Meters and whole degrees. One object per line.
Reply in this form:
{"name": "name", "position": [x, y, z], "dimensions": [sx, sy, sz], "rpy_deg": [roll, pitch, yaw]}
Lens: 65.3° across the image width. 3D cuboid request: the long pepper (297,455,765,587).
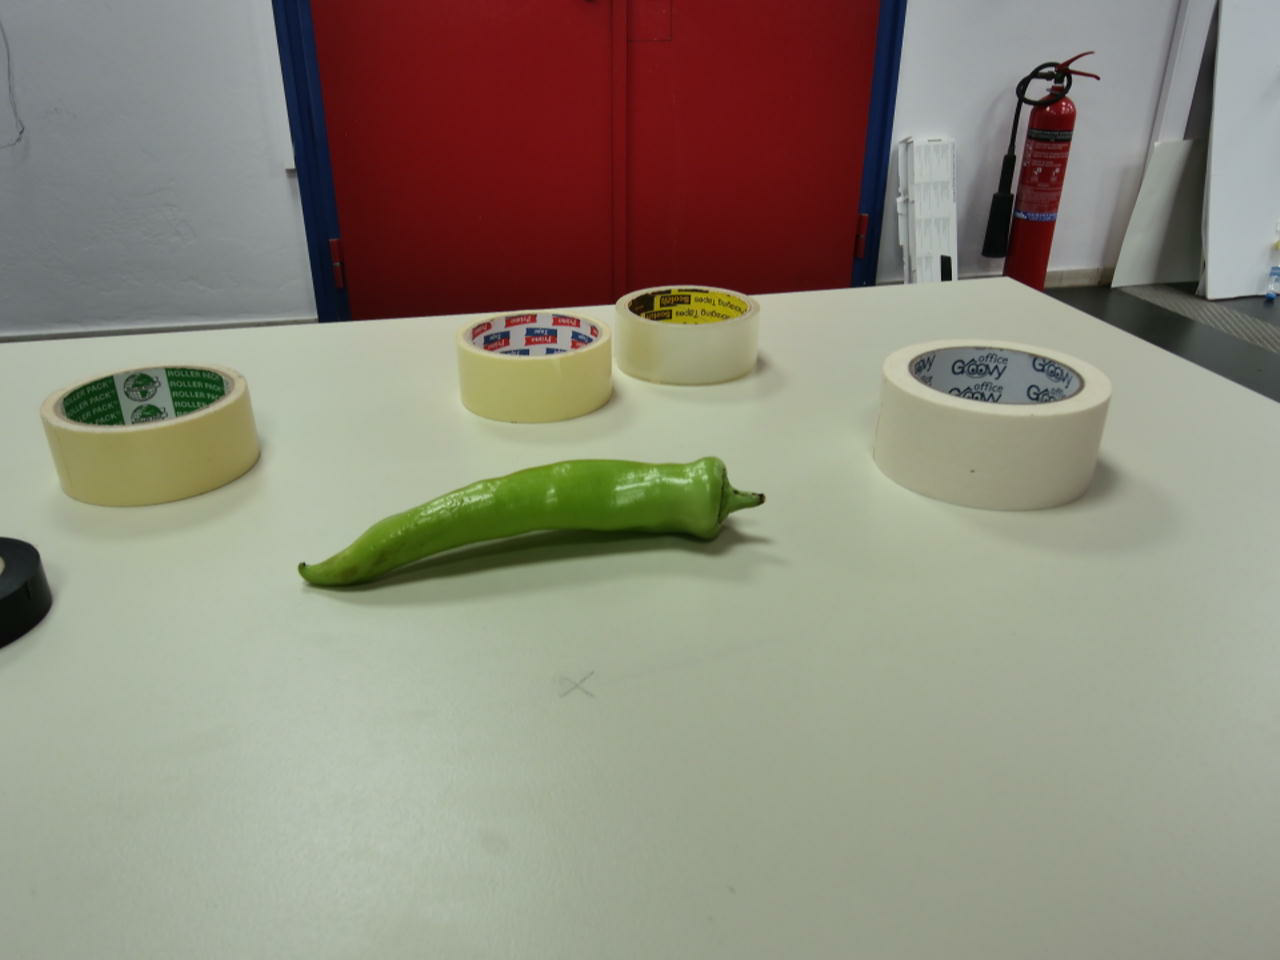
{"name": "long pepper", "position": [-0.045, 0.013, 0.428], "dimensions": [0.197, 0.038, 0.046], "rpy_deg": [-5, 25, -10]}
